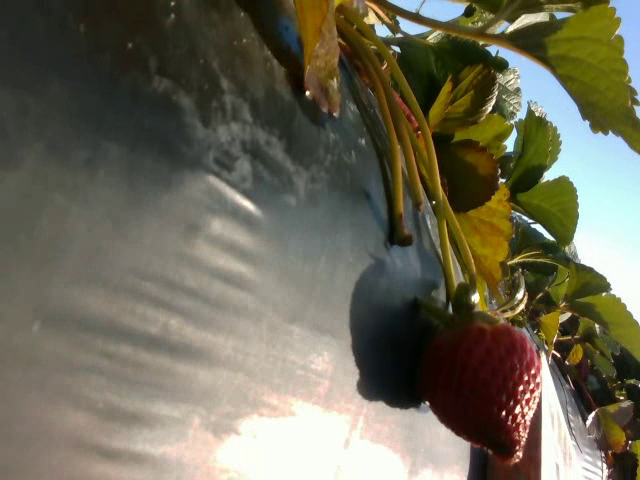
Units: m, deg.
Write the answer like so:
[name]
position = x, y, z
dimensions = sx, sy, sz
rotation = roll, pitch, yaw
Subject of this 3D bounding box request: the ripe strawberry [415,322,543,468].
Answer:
[ripe strawberry]
position = 0.047, 0.043, 0.162
dimensions = 0.037, 0.044, 0.040
rotation = -17, -16, 23
